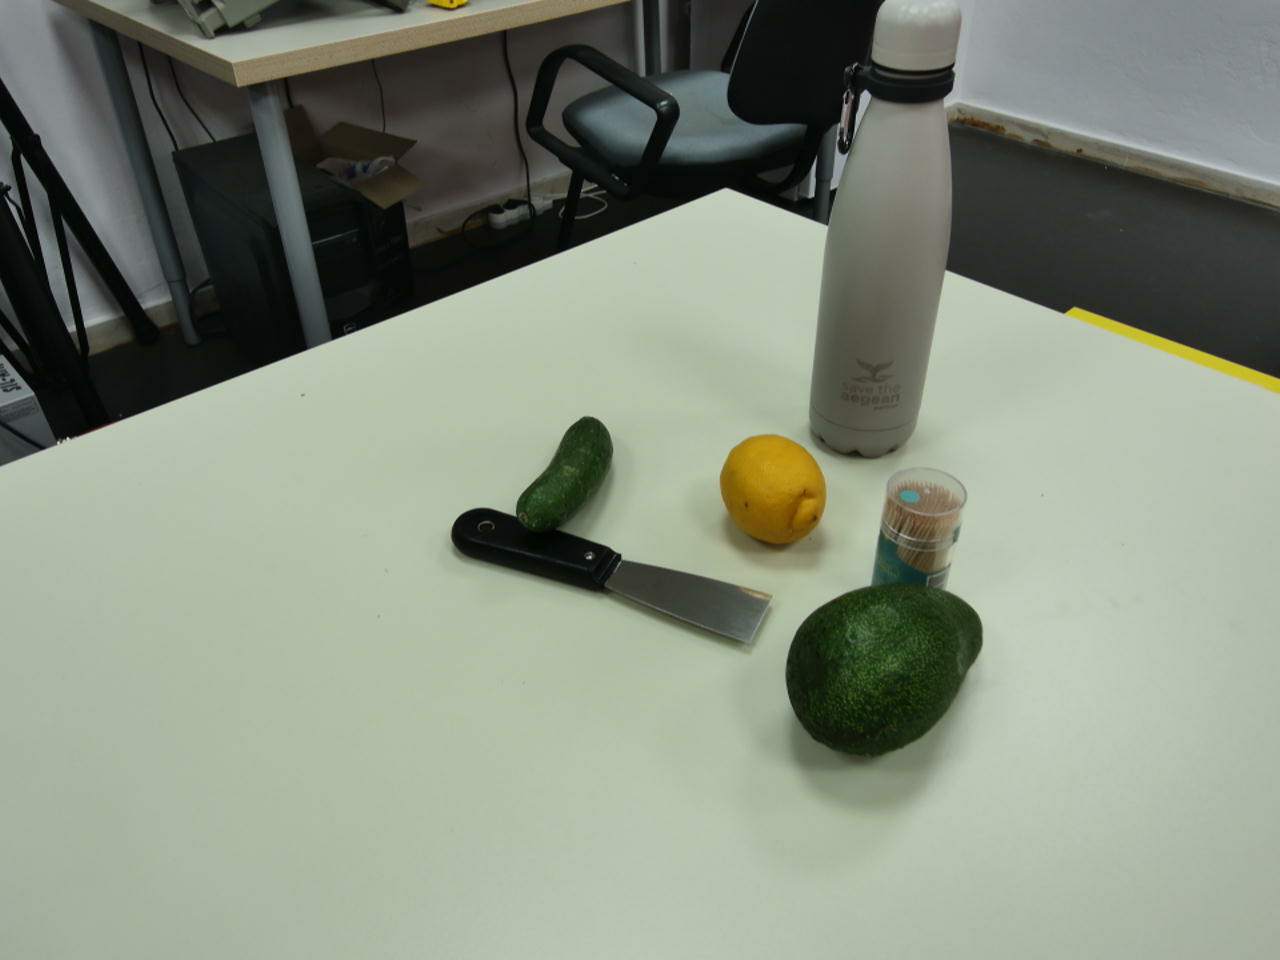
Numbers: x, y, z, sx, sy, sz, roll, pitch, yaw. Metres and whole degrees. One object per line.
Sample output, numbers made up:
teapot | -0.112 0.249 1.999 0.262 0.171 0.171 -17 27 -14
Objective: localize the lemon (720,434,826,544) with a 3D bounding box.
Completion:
lemon | 0.077 0.006 0.585 0.061 0.059 0.066 0 36 1
